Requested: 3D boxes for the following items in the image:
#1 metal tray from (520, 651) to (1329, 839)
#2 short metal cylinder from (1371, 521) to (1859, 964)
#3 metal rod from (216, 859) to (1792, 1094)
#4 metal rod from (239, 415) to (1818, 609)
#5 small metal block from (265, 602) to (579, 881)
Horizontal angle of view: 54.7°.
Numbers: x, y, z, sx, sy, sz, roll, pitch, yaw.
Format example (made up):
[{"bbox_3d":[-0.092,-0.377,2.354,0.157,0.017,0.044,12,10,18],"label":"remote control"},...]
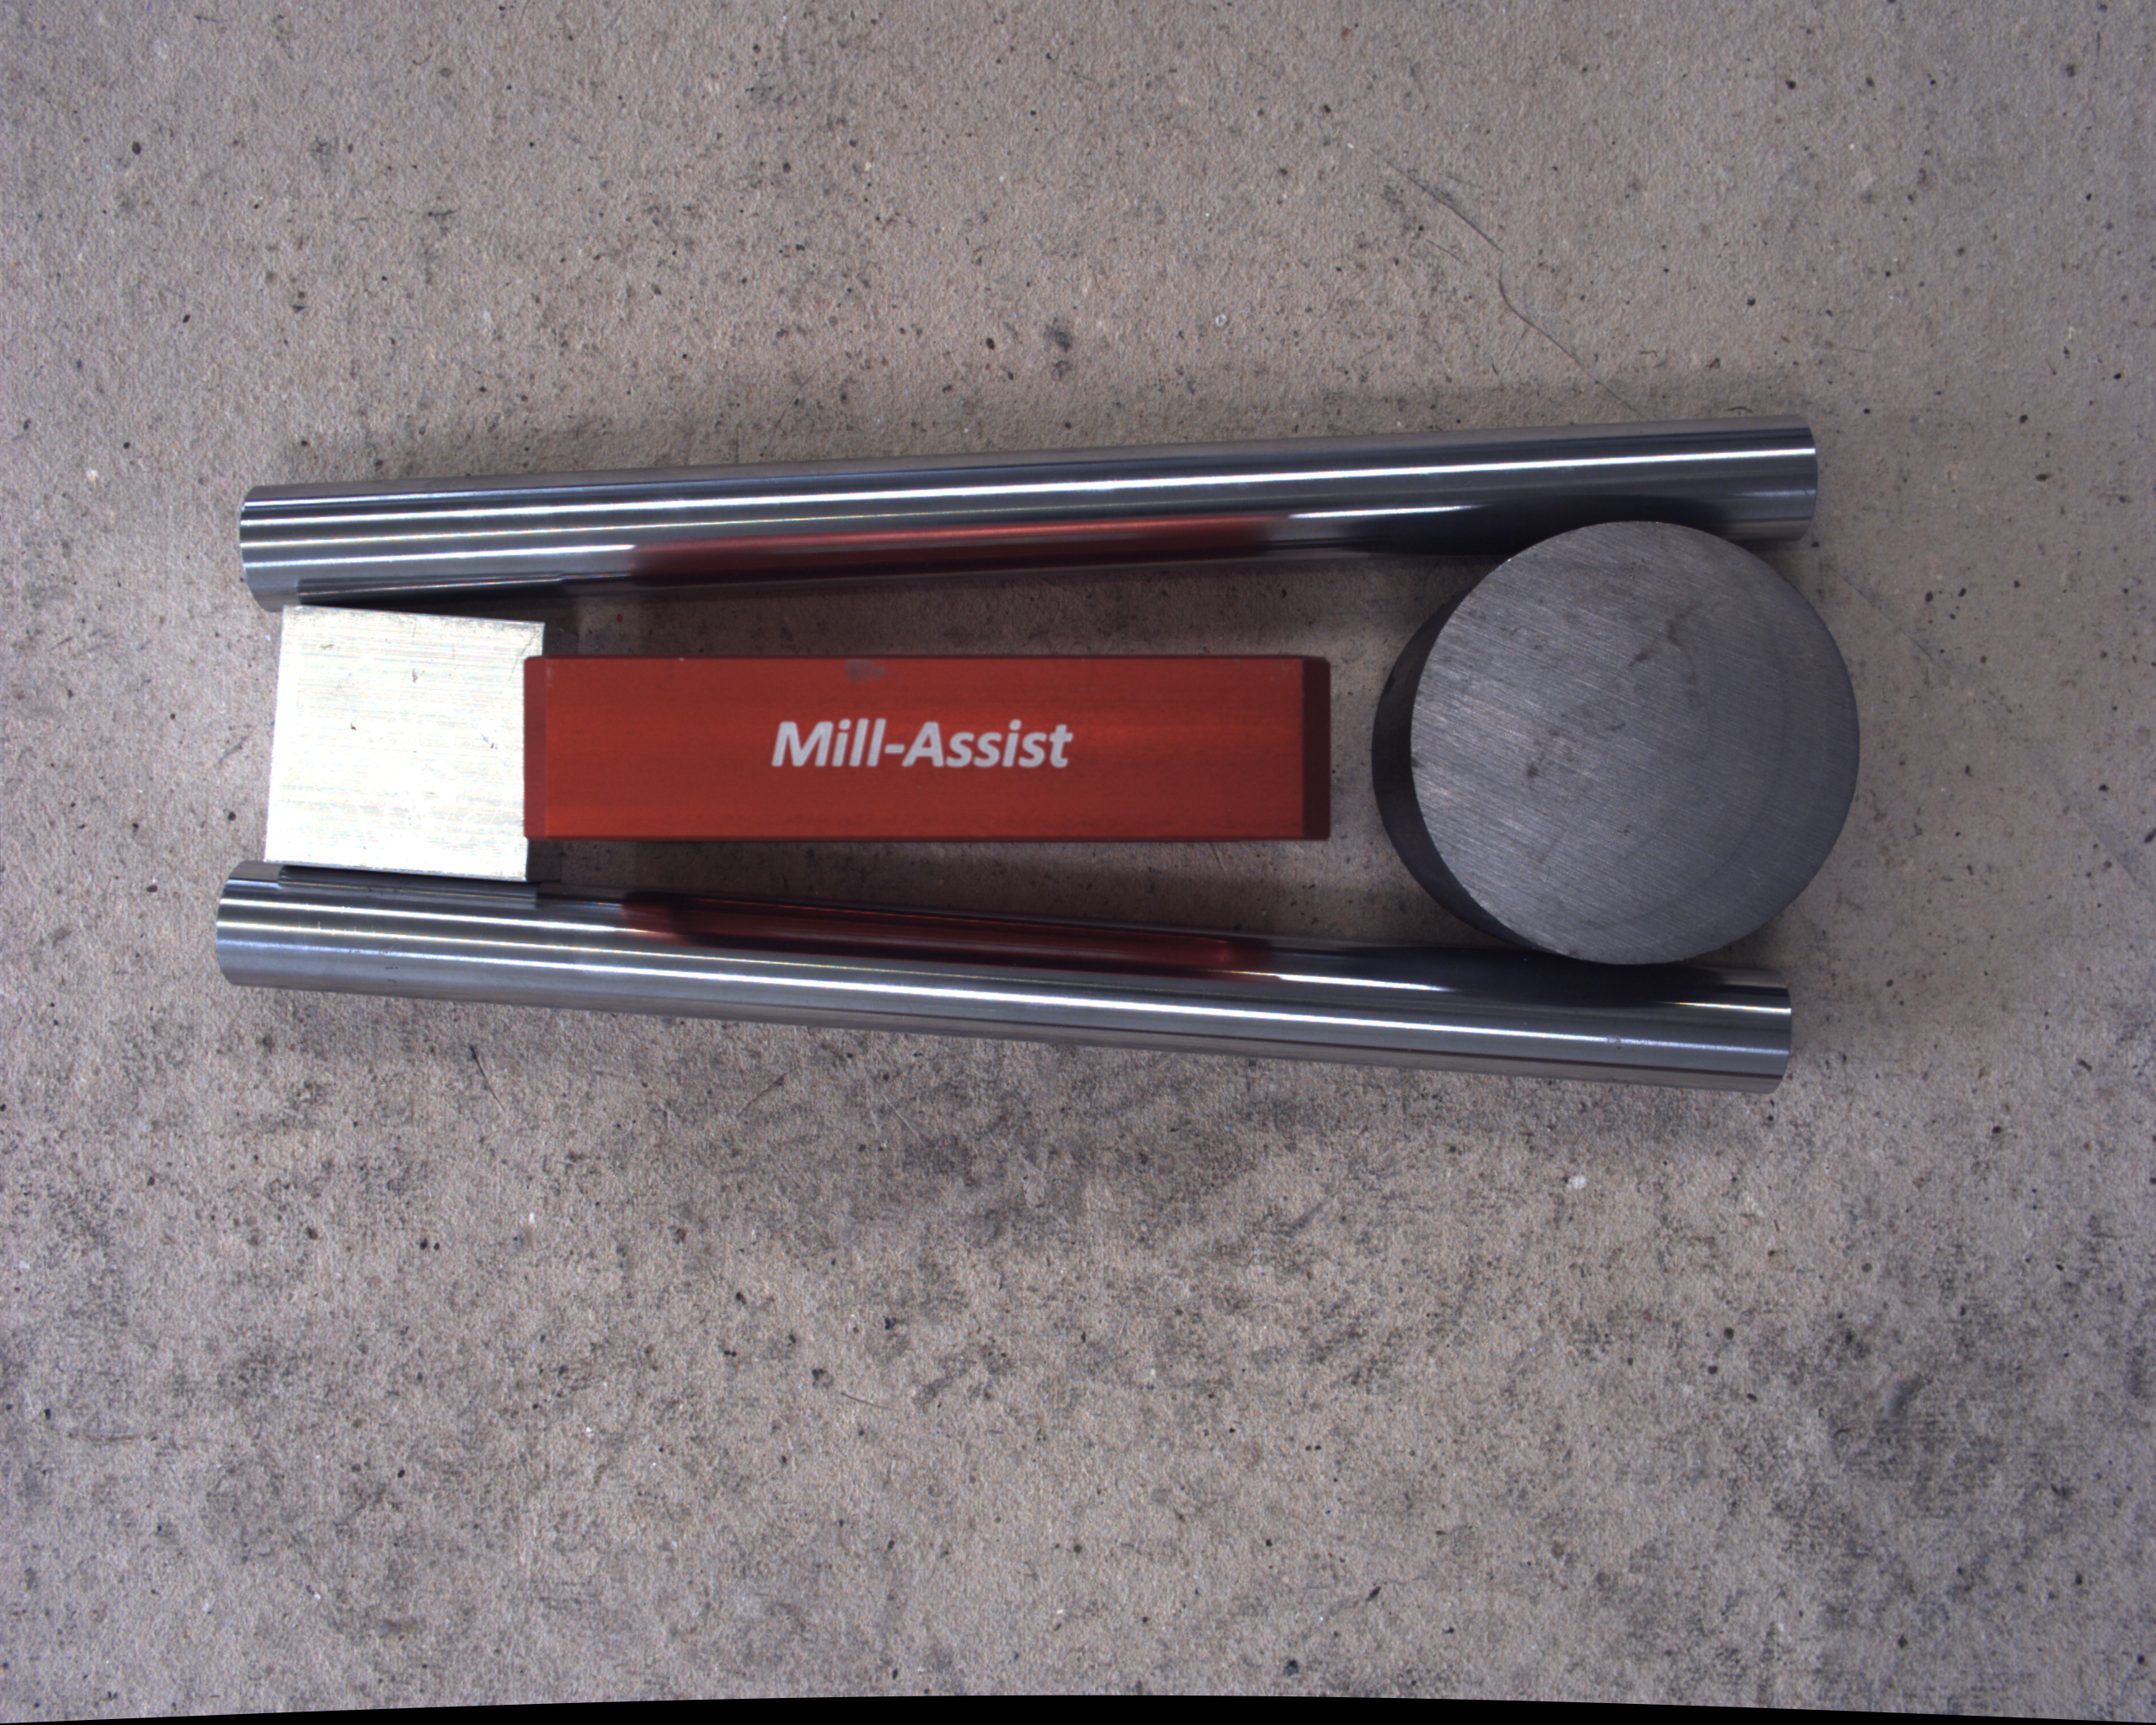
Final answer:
[{"bbox_3d":[-0.024,-0.019,0.377,0.131,0.090,0.030,0,90,0],"label":"metal tray"},{"bbox_3d":[0.100,-0.022,0.399,0.081,0.050,0.079,0,90,0],"label":"short metal cylinder"},{"bbox_3d":[-0.014,0.022,0.411,0.302,0.025,0.025,4,90,0],"label":"metal rod"},{"bbox_3d":[-0.009,-0.069,0.411,0.302,0.025,0.025,-3,90,0],"label":"metal rod"},{"bbox_3d":[-0.128,-0.023,0.411,0.050,0.025,0.050,4,90,0],"label":"small metal block"}]
